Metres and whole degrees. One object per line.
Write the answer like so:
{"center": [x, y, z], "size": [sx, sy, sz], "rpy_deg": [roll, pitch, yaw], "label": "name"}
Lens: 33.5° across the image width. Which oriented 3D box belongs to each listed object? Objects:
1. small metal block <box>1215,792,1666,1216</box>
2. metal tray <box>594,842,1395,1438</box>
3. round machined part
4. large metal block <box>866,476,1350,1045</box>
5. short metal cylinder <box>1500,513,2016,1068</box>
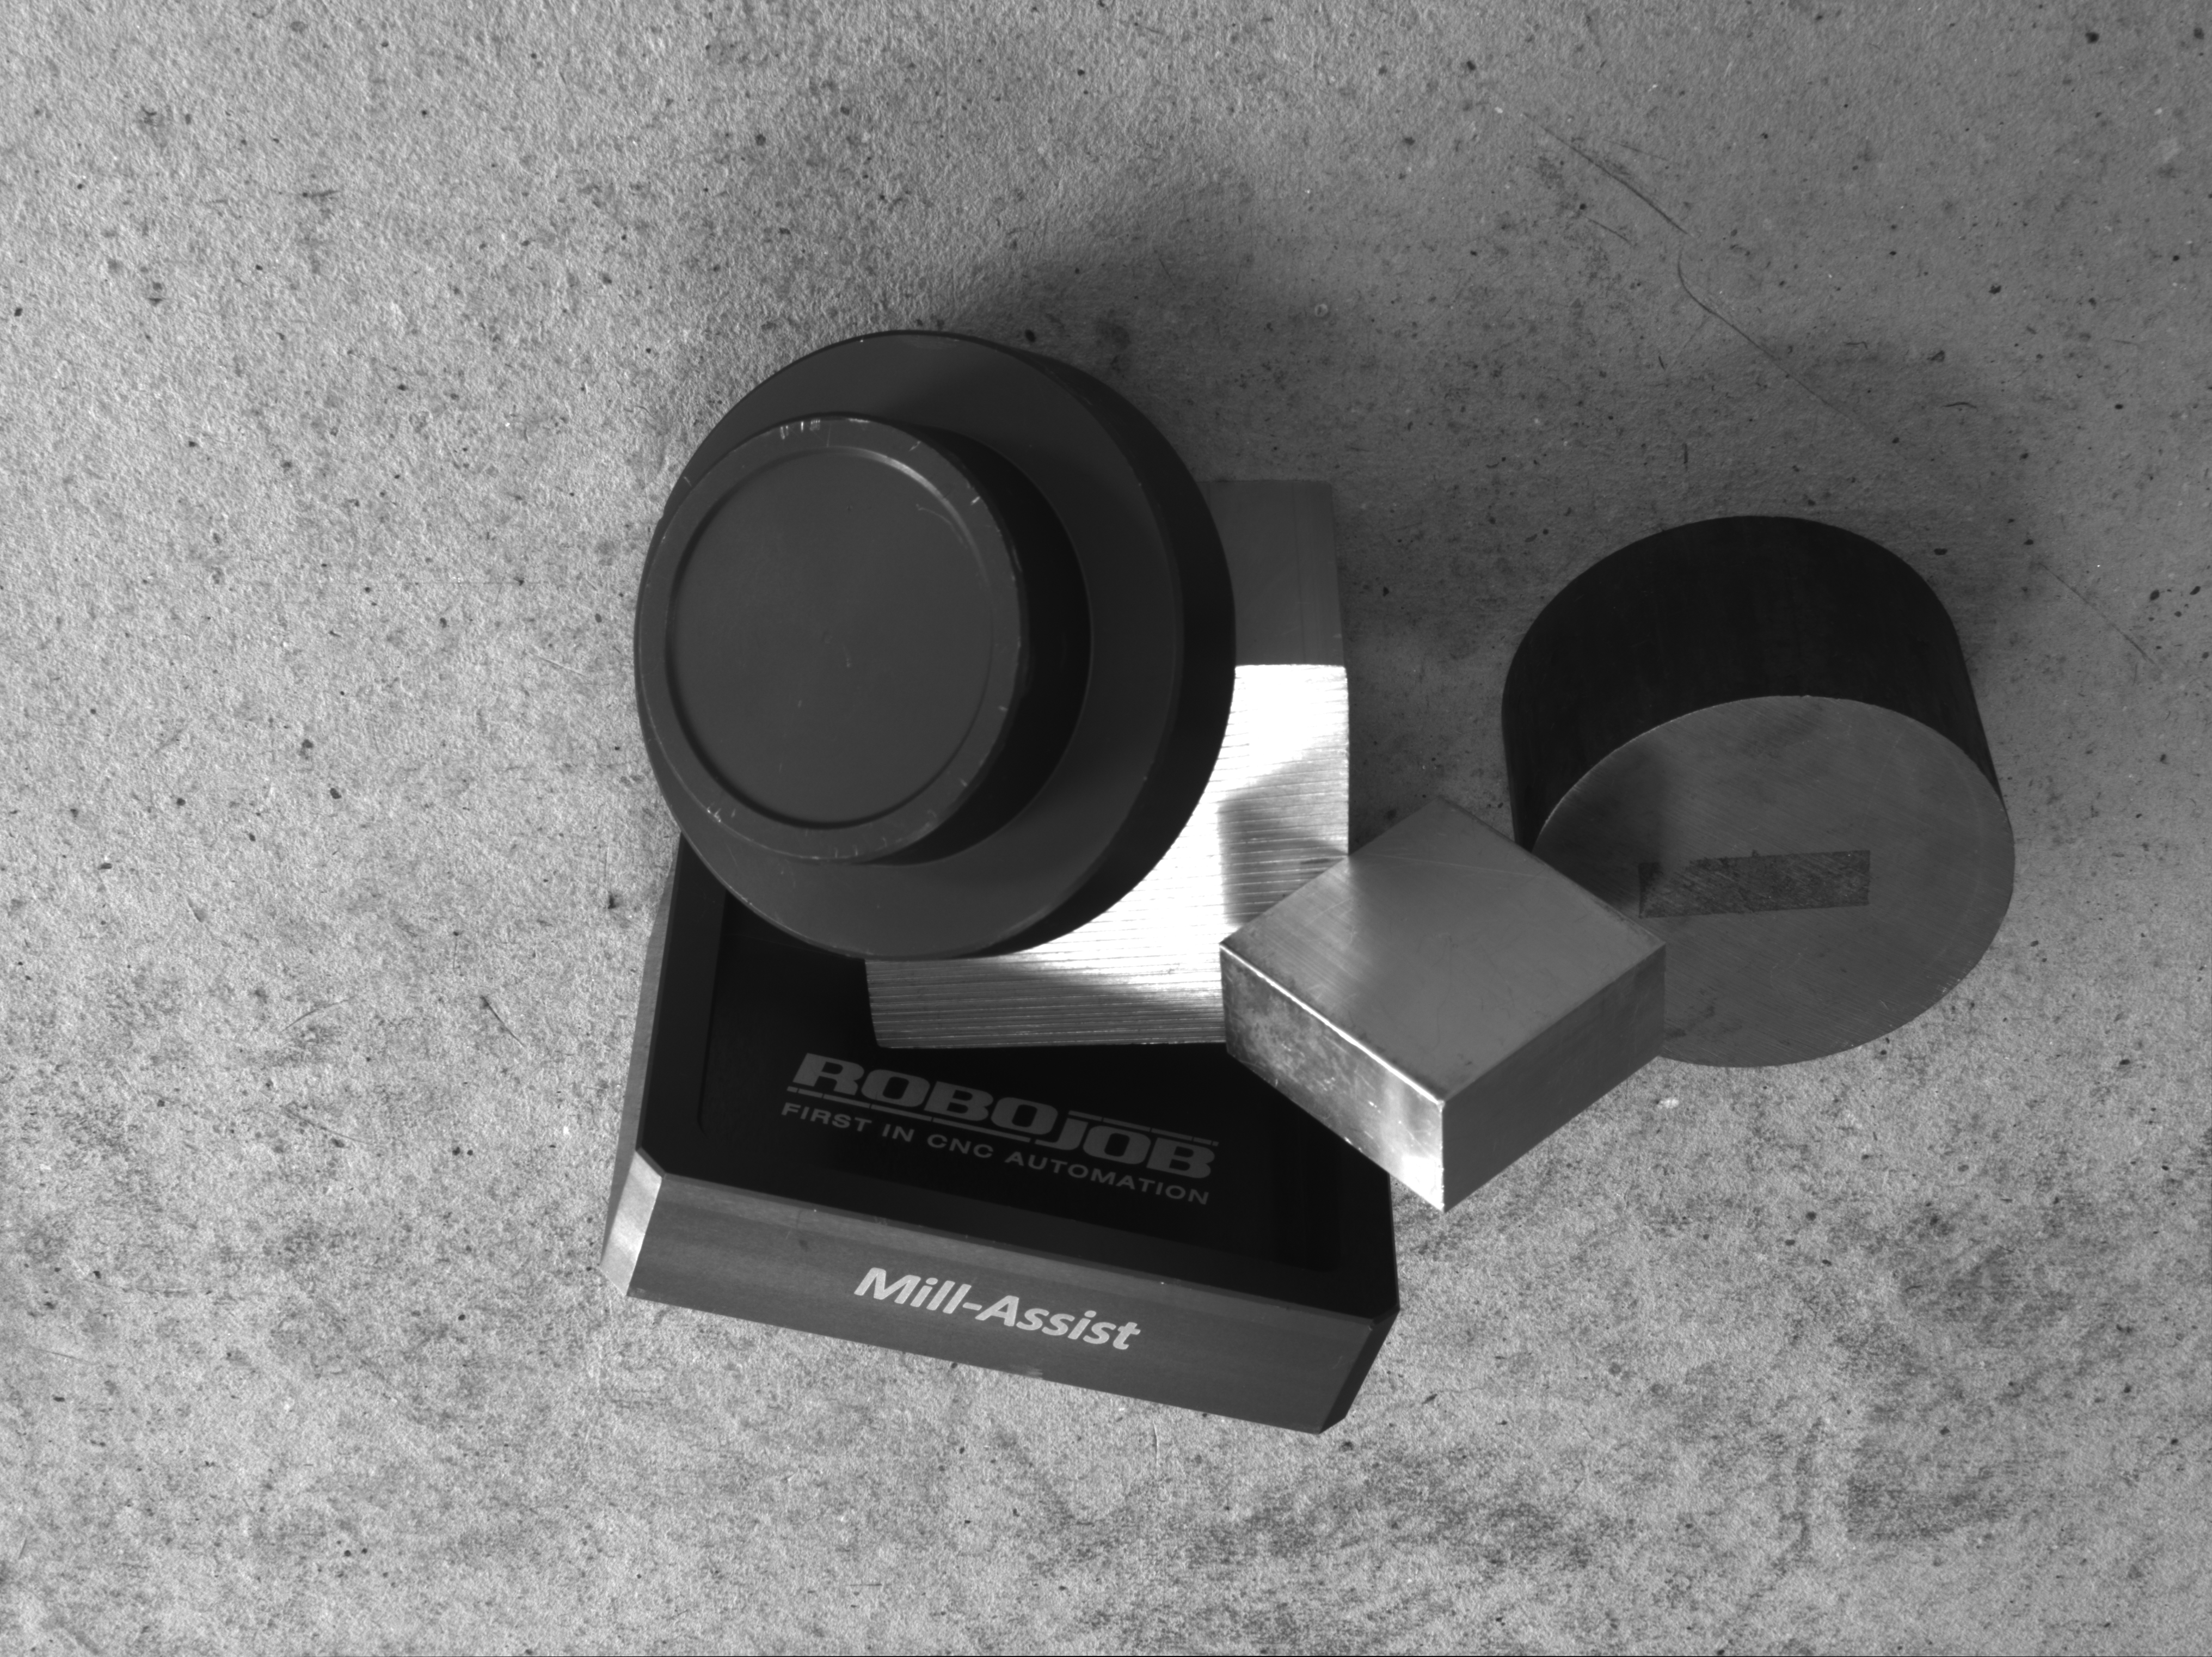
{"center": [0.053, 0.027, 0.587], "size": [0.050, 0.050, 0.025], "rpy_deg": [-33, 139, -27], "label": "small metal block"}
{"center": [-0.018, 0.051, 0.640], "size": [0.130, 0.090, 0.030], "rpy_deg": [13, 129, -11], "label": "metal tray"}
{"center": [-0.033, -0.028, 0.568], "size": [0.098, 0.098, 0.042], "rpy_deg": [-30, 168, 23], "label": "round machined part"}
{"center": [-0.001, -0.011, 0.616], "size": [0.080, 0.050, 0.080], "rpy_deg": [-1, 130, 1], "label": "large metal block"}
{"center": [0.109, -0.006, 0.620], "size": [0.080, 0.050, 0.080], "rpy_deg": [0, 130, 0], "label": "short metal cylinder"}
